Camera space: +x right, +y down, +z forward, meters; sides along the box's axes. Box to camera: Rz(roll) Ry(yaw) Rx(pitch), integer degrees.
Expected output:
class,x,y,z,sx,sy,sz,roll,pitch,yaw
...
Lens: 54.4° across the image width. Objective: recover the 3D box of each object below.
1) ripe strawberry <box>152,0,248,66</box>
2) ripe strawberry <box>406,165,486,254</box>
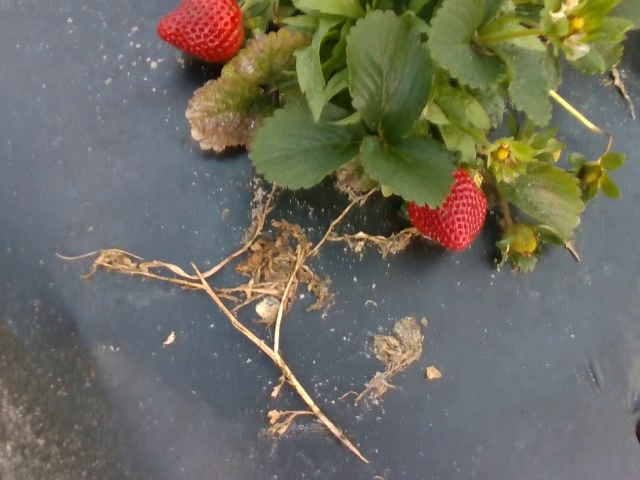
class,x,y,z,sx,sy,sz,roll,pitch,yaw
ripe strawberry,-0.063,-0.113,0.326,0.050,0.043,0.043,-22,-9,-20
ripe strawberry,0.066,-0.014,0.314,0.043,0.046,0.047,-12,-37,7
